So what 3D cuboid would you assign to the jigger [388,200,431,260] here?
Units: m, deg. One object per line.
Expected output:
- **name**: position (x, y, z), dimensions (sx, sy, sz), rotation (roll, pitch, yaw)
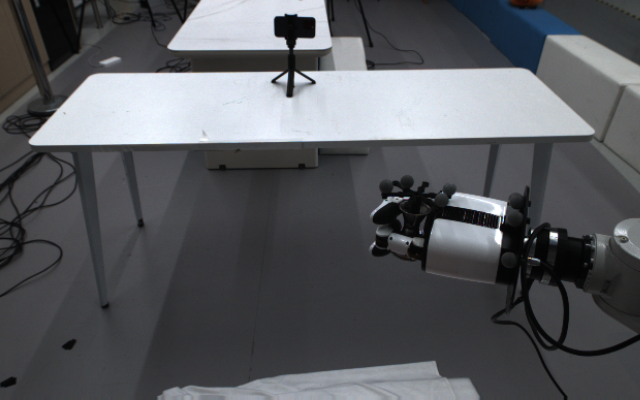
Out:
- **jigger**: position (0.123, 0.038, 0.635), dimensions (0.043, 0.071, 0.043), rotation (3, 25, -1)
